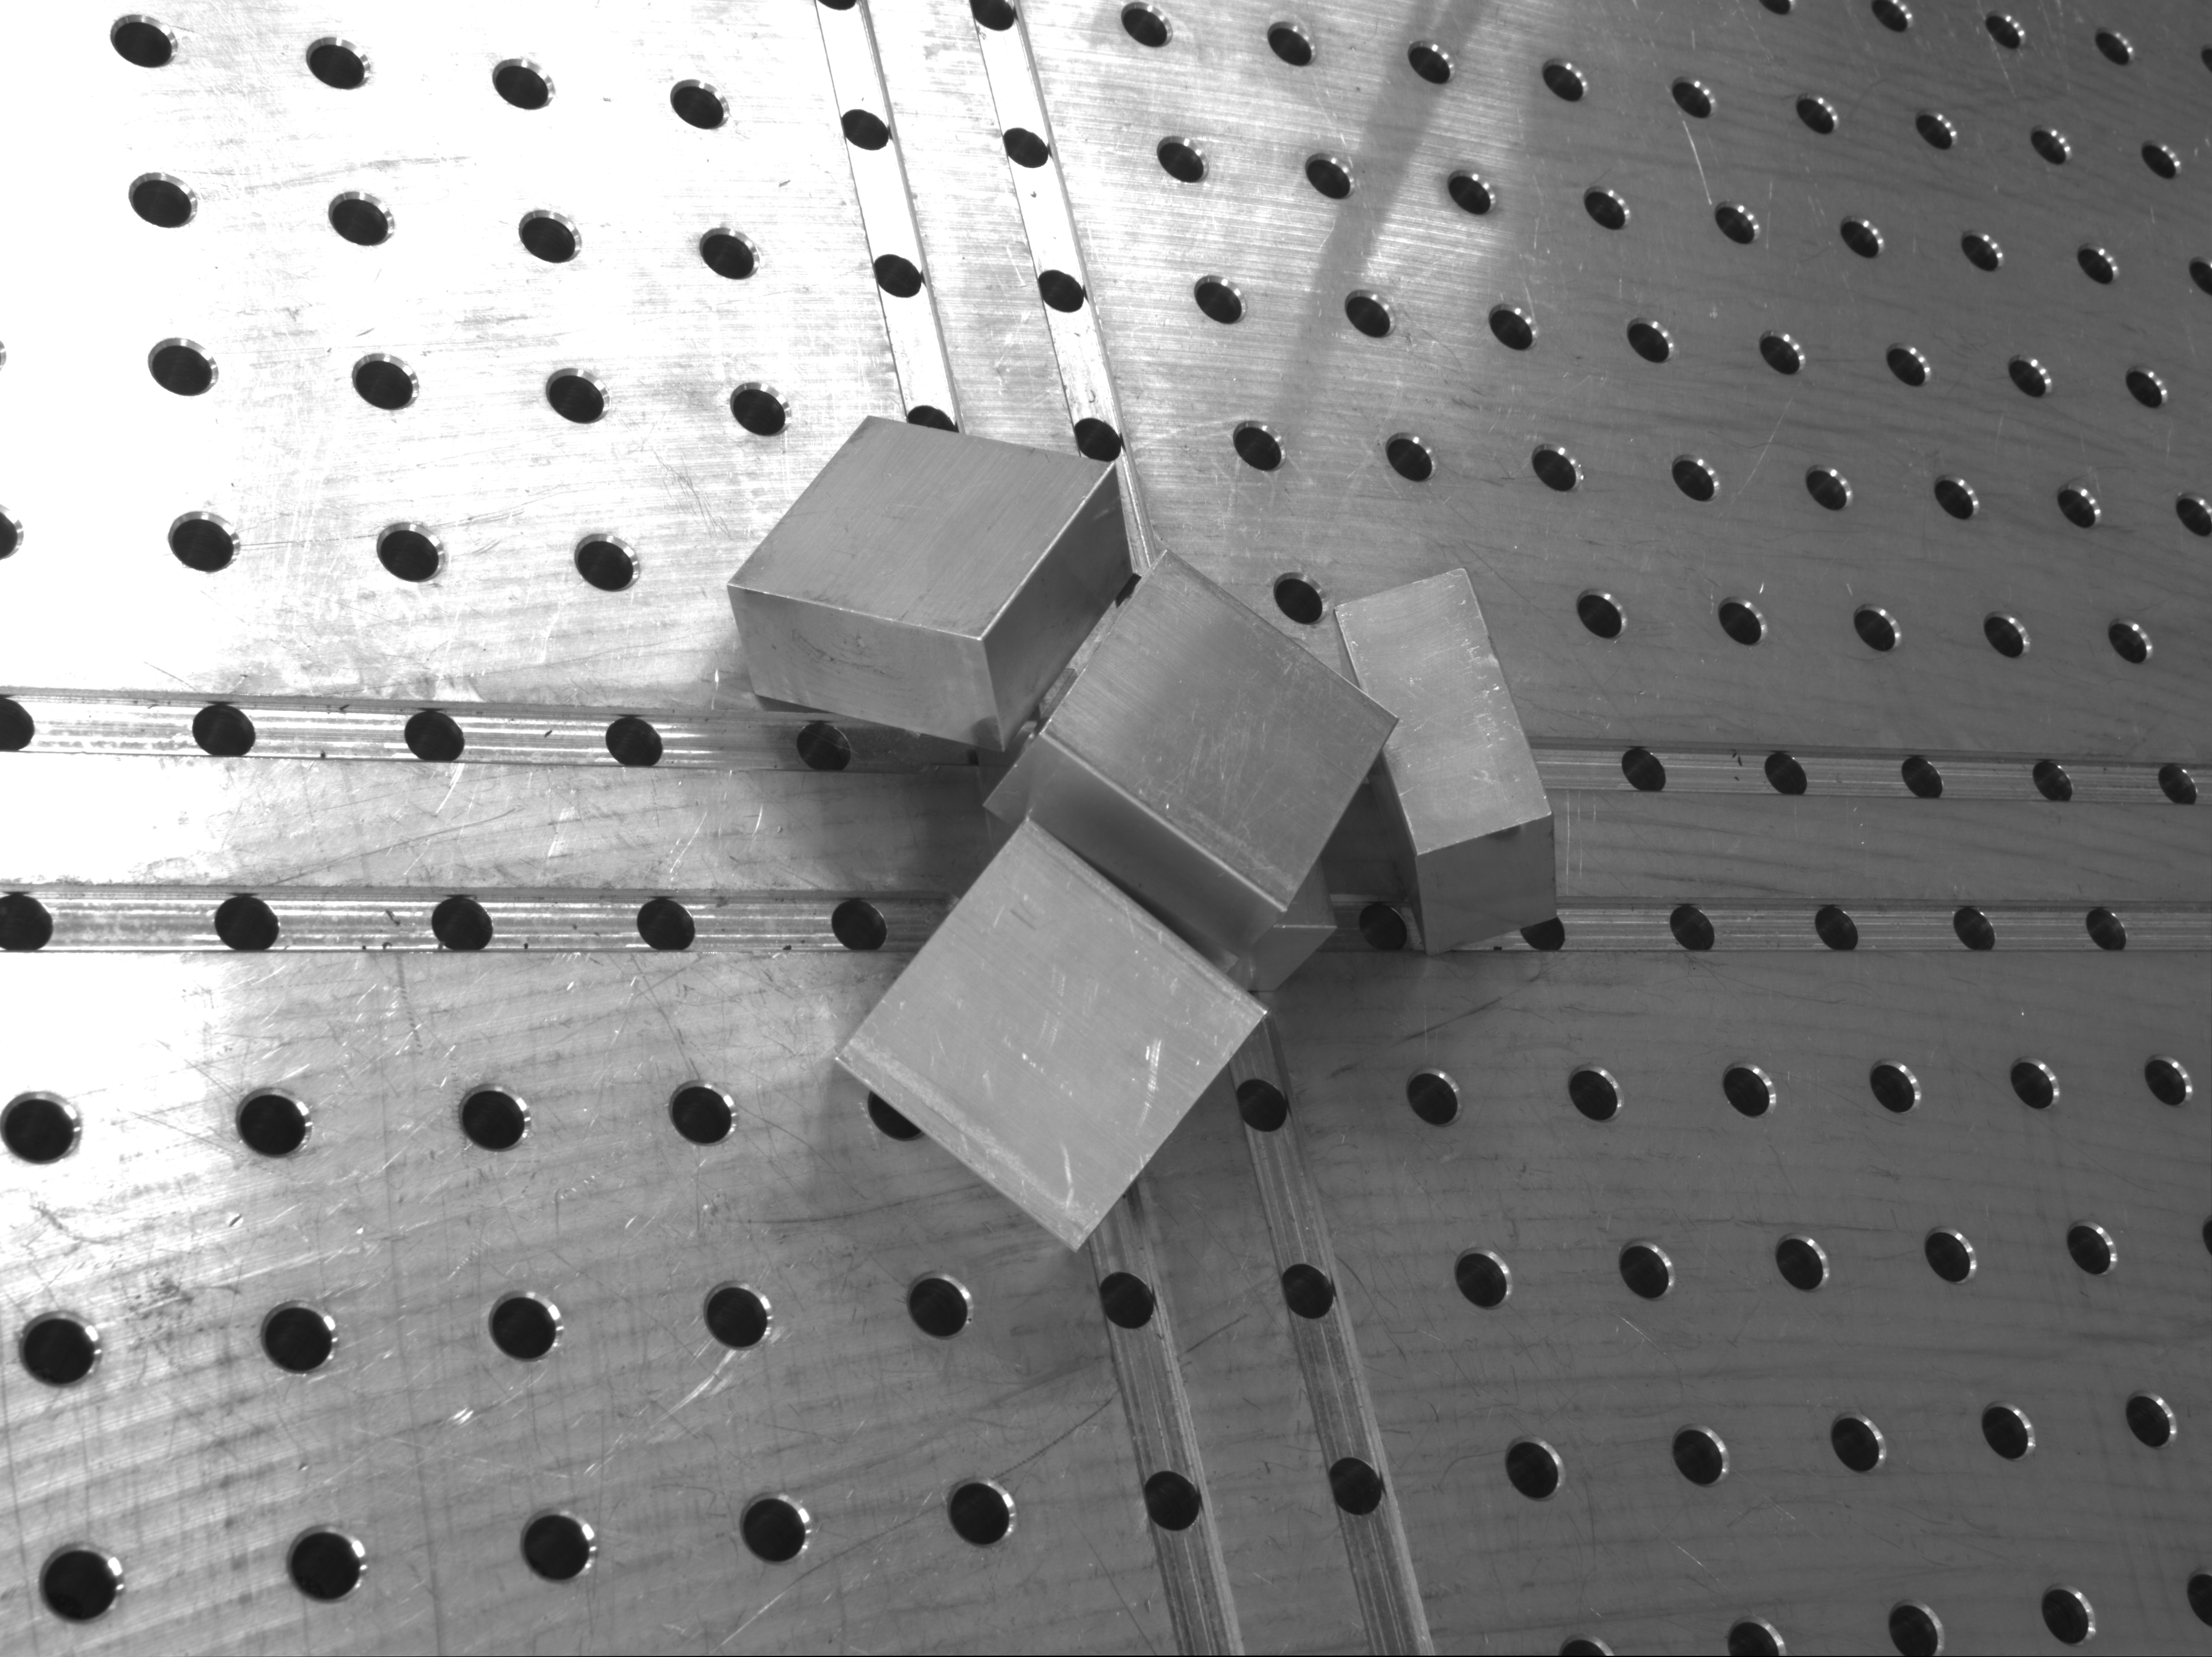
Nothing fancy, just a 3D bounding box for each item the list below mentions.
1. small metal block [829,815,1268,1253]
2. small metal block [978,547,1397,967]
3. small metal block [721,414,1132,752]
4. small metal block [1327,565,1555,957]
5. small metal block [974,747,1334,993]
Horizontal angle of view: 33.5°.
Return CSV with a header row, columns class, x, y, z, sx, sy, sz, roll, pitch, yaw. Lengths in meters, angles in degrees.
class,x,y,z,sx,sy,sz,roll,pitch,yaw
small metal block,-0.010,0.033,0.601,0.050,0.025,0.050,38,88,-2
small metal block,0.014,-0.011,0.624,0.050,0.025,0.050,36,51,-5
small metal block,-0.030,-0.043,0.637,0.050,0.025,0.050,14,46,24
small metal block,0.061,-0.011,0.662,0.025,0.050,0.050,-17,67,1
small metal block,0.008,0.001,0.646,0.050,0.025,0.050,2,63,-27
